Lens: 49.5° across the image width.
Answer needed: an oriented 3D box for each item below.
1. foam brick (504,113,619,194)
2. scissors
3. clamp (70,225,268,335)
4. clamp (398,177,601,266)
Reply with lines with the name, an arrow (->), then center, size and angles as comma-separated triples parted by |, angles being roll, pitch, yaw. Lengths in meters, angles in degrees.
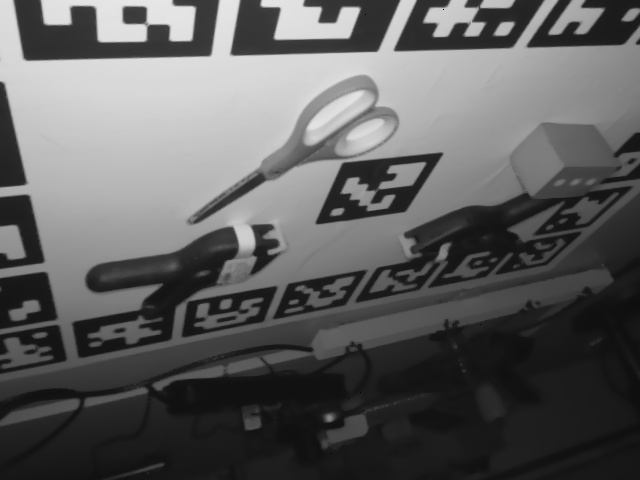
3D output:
foam brick -> 0.224, -0.082, 0.646 | 0.079, 0.051, 0.052 | -8, 148, -28
scissors -> -0.042, -0.060, 0.546 | 0.200, 0.016, 0.088 | -34, 140, 26
clamp -> -0.125, 0.030, 0.641 | 0.165, 0.036, 0.122 | -23, 144, 5
clamp -> 0.183, -0.010, 0.753 | 0.205, 0.037, 0.163 | -10, 153, -15
